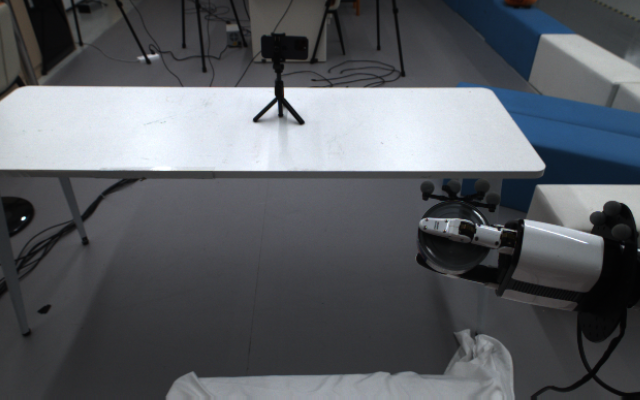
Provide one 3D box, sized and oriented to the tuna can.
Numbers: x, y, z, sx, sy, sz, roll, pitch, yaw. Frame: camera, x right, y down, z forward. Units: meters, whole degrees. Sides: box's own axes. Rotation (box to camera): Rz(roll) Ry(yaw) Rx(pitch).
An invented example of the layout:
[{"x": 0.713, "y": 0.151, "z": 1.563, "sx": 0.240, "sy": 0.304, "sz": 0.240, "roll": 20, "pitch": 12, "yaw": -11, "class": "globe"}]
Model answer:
[{"x": 0.161, "y": 0.042, "z": 0.584, "sx": 0.085, "sy": 0.034, "sz": 0.085, "roll": -2, "pitch": 70, "yaw": 6, "class": "tuna can"}]
